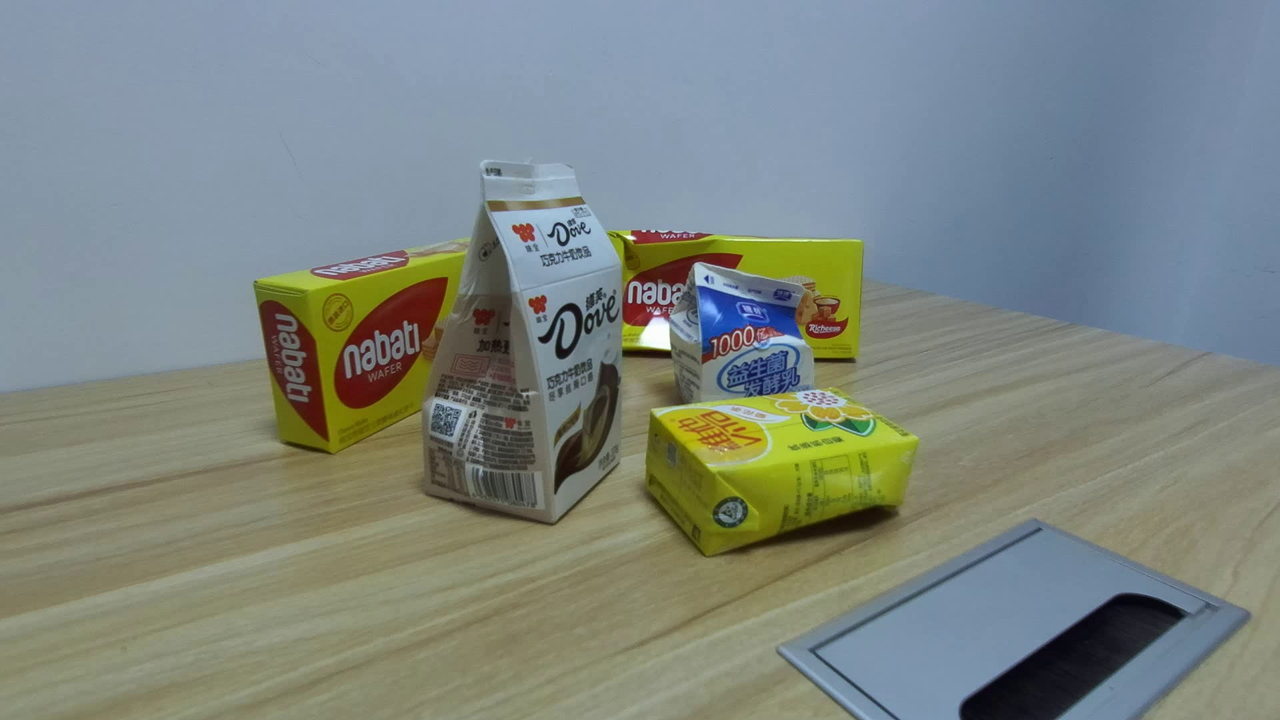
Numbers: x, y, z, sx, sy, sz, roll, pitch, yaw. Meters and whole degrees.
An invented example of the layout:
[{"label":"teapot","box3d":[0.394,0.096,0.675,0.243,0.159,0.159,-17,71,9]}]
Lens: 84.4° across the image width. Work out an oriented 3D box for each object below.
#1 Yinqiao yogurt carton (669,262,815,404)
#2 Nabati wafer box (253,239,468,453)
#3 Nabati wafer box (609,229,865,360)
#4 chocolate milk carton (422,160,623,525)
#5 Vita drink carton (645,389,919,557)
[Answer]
[{"label":"Yinqiao yogurt carton","box3d":[0.063,-0.015,0.439,0.083,0.093,0.077,-2,18,-9]},{"label":"Nabati wafer box","box3d":[-0.139,-0.021,0.454,0.042,0.093,0.203,9,19,24]},{"label":"Nabati wafer box","box3d":[0.072,-0.050,0.558,0.203,0.096,0.042,3,5,0]},{"label":"chocolate milk carton","box3d":[-0.056,-0.013,0.336,0.073,0.155,0.084,7,18,22]},{"label":"Vita drink carton","box3d":[0.067,0.050,0.332,0.109,0.043,0.076,-5,22,-24]}]
